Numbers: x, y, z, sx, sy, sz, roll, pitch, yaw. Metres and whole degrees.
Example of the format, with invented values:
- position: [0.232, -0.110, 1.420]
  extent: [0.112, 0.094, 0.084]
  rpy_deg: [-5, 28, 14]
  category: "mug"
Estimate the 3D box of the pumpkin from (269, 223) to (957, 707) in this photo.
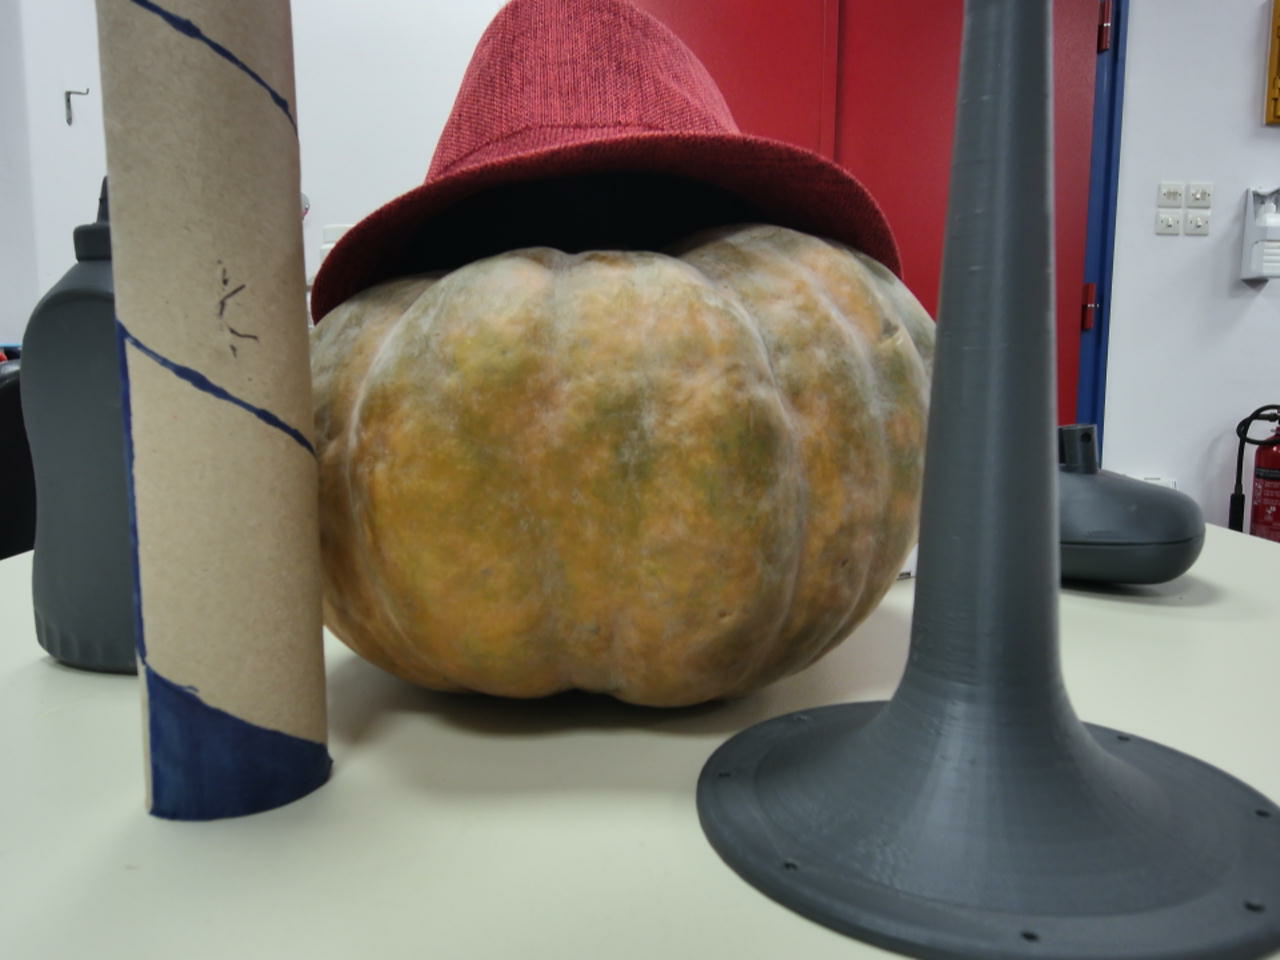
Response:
- position: [-0.015, -0.009, 0.384]
  extent: [0.252, 0.168, 0.252]
  rpy_deg: [0, 5, 0]
  category: "pumpkin"
